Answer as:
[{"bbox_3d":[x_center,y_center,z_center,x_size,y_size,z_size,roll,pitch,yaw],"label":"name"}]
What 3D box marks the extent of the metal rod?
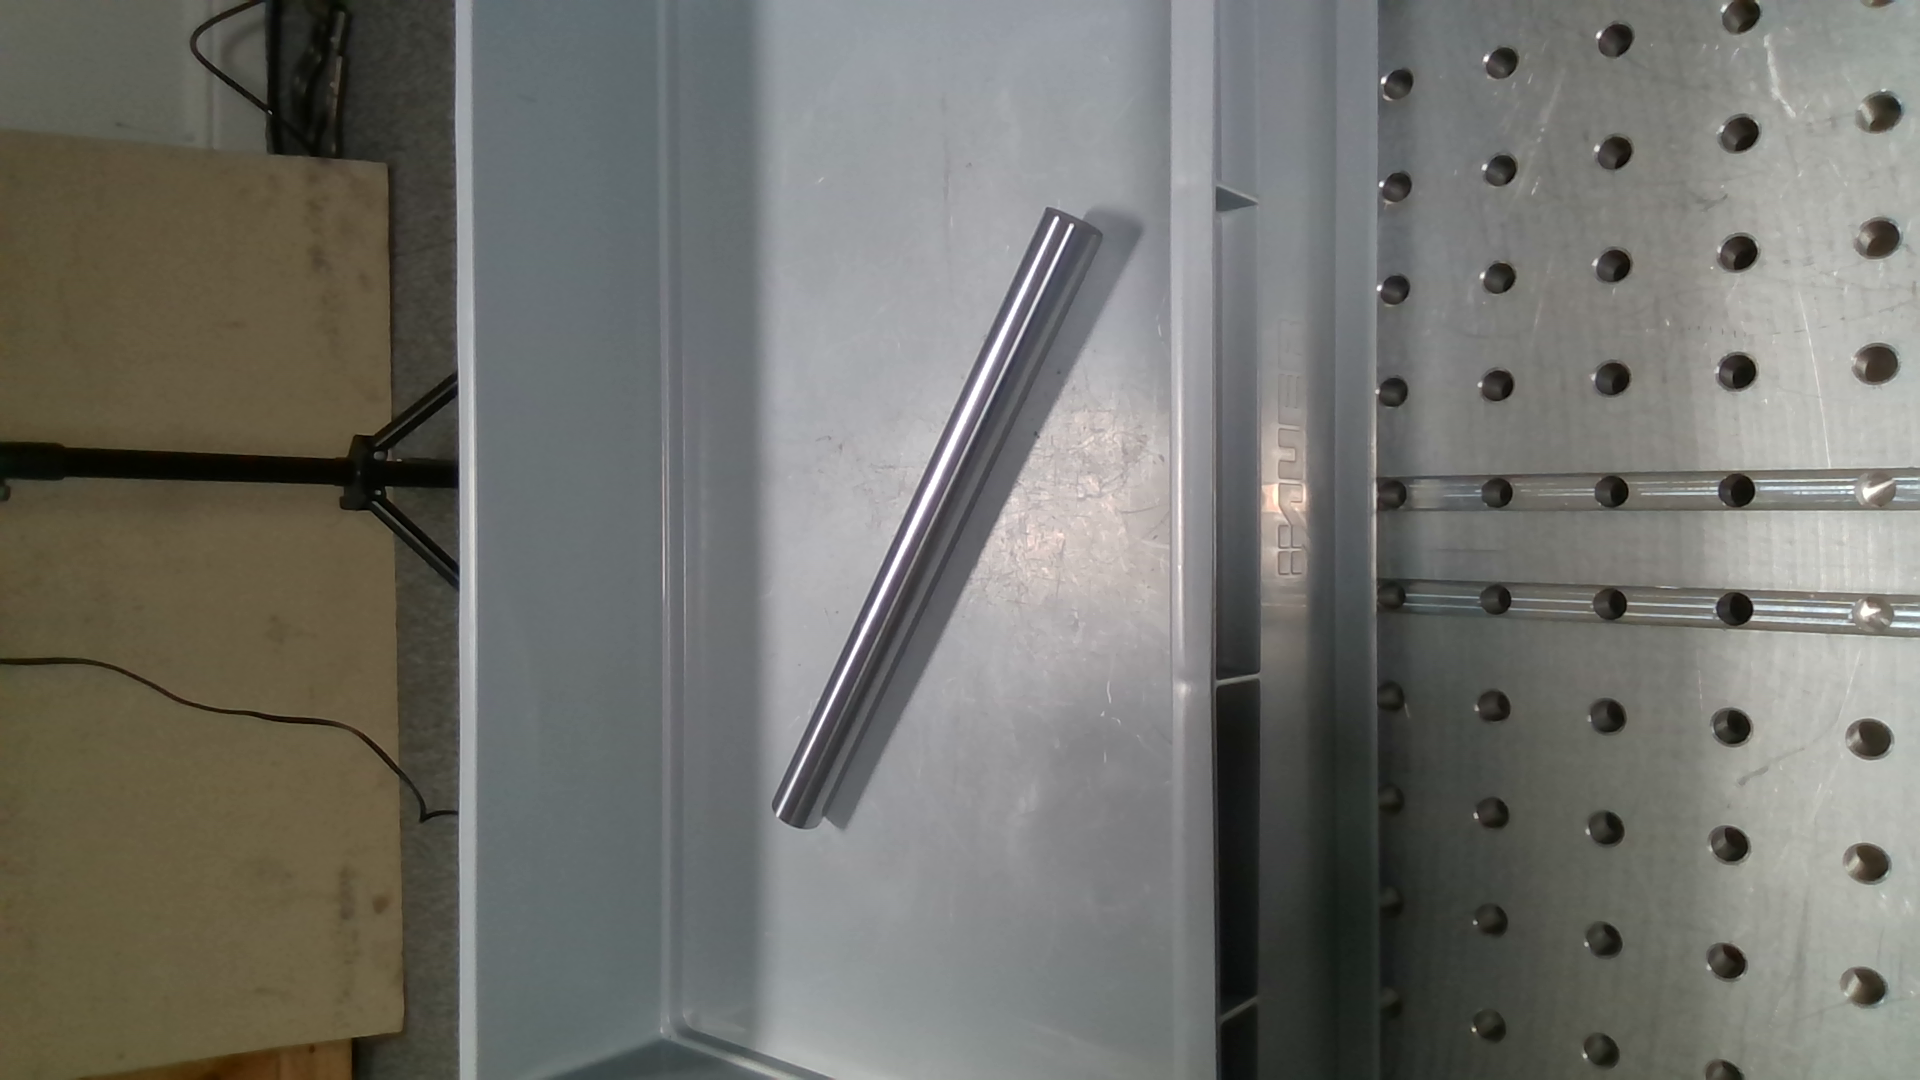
[{"bbox_3d":[-0.016,0.001,0.594,0.025,0.025,0.301,40,115,33],"label":"metal rod"}]
